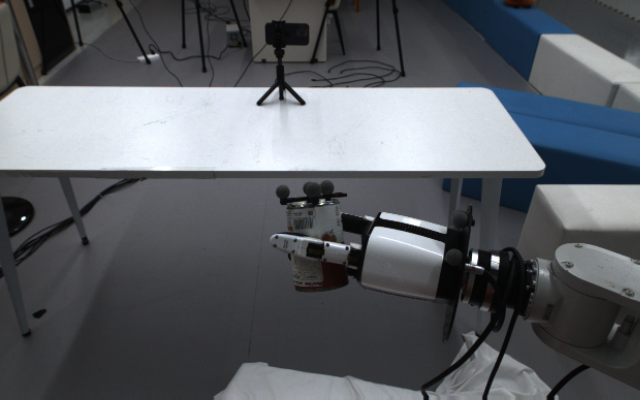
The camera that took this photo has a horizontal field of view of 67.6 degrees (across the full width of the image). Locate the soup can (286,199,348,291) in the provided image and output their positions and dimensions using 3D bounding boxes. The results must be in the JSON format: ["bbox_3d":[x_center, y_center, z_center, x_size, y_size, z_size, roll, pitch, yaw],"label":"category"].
[{"bbox_3d":[-0.001,0.053,0.582,0.067,0.101,0.067,-7,3,0],"label":"soup can"}]
